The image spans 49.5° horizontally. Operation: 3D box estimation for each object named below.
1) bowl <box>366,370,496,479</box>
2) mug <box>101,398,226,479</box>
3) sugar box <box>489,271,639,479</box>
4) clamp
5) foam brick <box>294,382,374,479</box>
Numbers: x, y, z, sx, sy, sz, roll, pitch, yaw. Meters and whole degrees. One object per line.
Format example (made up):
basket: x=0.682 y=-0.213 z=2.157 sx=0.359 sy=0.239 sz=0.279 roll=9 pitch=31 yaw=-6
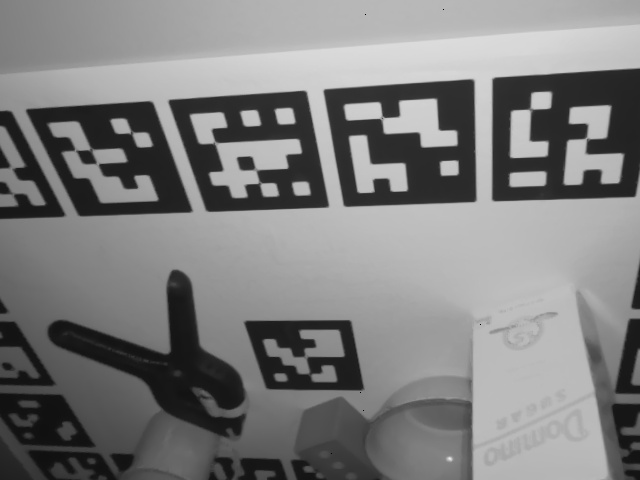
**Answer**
bowl: x=0.127 y=0.175 z=0.660 sx=0.161 sy=0.056 sz=0.160 roll=4 pitch=126 yaw=7
mug: x=-0.153 y=0.224 z=0.718 sx=0.117 sy=0.082 sz=0.092 roll=23 pitch=126 yaw=-4
sugar box: x=0.179 y=0.103 z=0.526 sx=0.092 sy=0.178 sz=0.045 roll=-21 pitch=118 yaw=24
clamp: x=-0.130 y=0.110 z=0.656 sx=0.164 sy=0.037 sz=0.203 roll=-21 pitch=119 yaw=19
foam brick: x=0.015 y=0.191 z=0.698 sx=0.052 sy=0.052 sz=0.078 roll=-24 pitch=118 yaw=23
